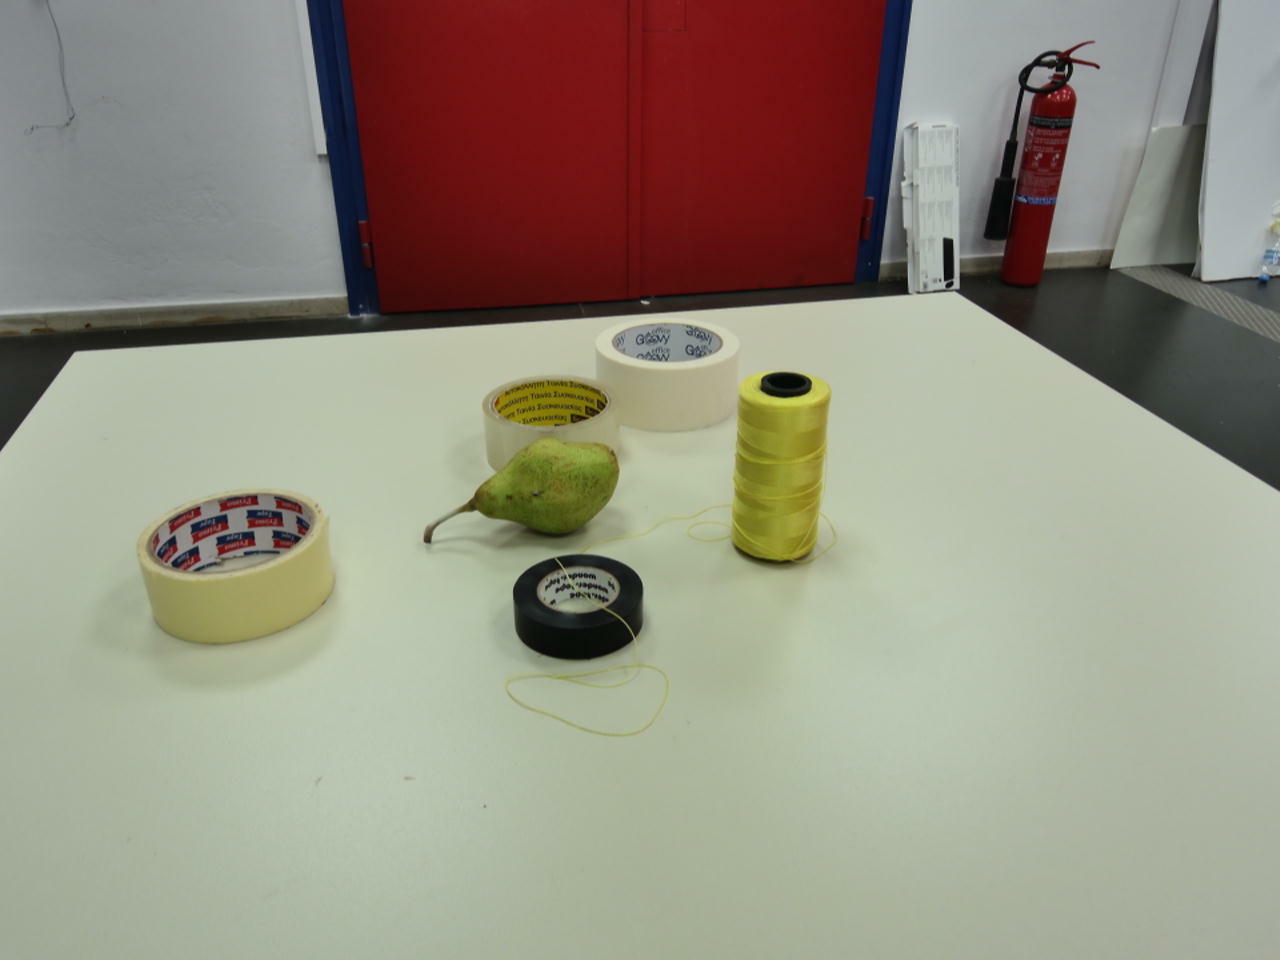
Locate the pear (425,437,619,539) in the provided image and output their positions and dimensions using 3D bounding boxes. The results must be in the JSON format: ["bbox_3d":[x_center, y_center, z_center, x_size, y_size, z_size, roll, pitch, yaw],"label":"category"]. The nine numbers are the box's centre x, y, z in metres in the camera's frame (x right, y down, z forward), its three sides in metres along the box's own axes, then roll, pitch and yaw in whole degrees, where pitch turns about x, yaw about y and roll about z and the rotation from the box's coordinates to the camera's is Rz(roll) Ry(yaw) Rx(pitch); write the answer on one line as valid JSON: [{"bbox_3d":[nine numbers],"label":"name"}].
[{"bbox_3d":[-0.067,0.004,0.587,0.111,0.056,0.056,0,26,3],"label":"pear"}]
